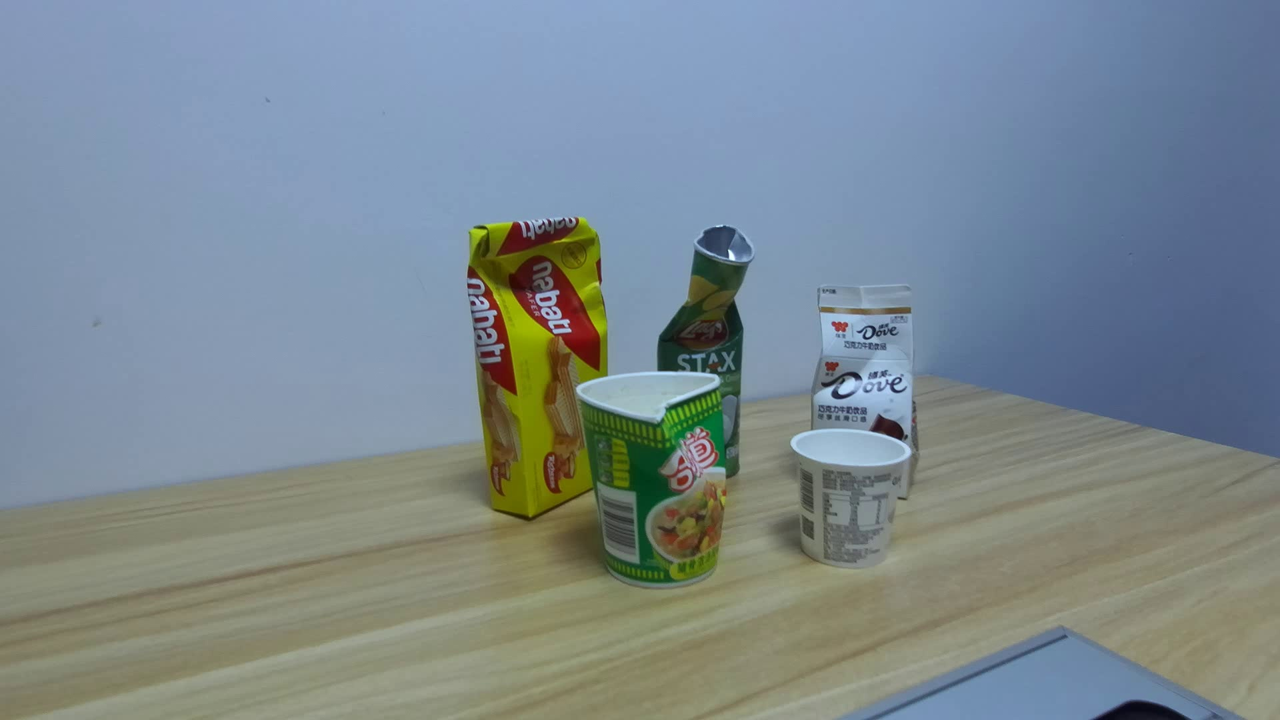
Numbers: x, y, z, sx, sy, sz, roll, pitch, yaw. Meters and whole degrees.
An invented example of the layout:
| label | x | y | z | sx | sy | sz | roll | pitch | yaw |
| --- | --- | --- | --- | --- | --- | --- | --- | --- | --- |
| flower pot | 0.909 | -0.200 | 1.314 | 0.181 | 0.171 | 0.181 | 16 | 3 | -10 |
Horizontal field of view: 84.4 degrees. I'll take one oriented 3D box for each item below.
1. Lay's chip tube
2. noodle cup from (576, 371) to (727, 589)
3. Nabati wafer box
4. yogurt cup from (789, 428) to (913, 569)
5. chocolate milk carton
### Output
| label | x | y | z | sx | sy | sz | roll | pitch | yaw |
| --- | --- | --- | --- | --- | --- | --- | --- | --- | --- |
| Lay's chip tube | 0.055 | -0.002 | 0.560 | 0.079 | 0.199 | 0.070 | -13 | 24 | -39 |
| noodle cup | 0.011 | 0.068 | 0.421 | 0.094 | 0.109 | 0.086 | -11 | 16 | -40 |
| Nabati wafer box | -0.069 | 0.003 | 0.515 | 0.042 | 0.205 | 0.114 | 7 | 15 | 36 |
| yogurt cup | 0.127 | 0.085 | 0.435 | 0.072 | 0.068 | 0.072 | 0 | 12 | 0 |
| chocolate milk carton | 0.175 | 0.020 | 0.542 | 0.084 | 0.155 | 0.073 | 4 | 12 | 18 |
